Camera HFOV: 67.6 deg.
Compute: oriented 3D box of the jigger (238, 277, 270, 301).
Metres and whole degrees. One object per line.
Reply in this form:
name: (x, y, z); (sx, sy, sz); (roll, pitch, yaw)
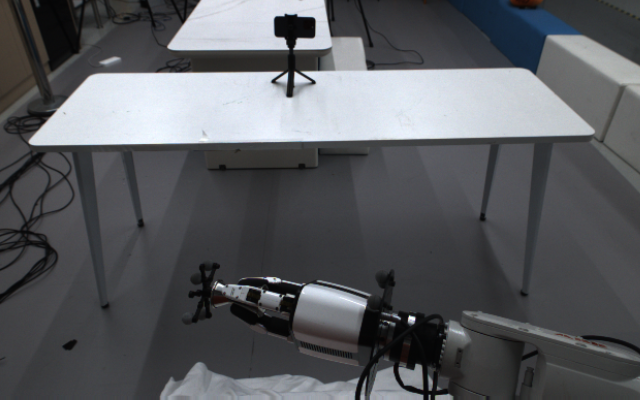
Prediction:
jigger: (-0.102, 0.128, 0.653); (0.071, 0.043, 0.043); (6, 35, 13)
